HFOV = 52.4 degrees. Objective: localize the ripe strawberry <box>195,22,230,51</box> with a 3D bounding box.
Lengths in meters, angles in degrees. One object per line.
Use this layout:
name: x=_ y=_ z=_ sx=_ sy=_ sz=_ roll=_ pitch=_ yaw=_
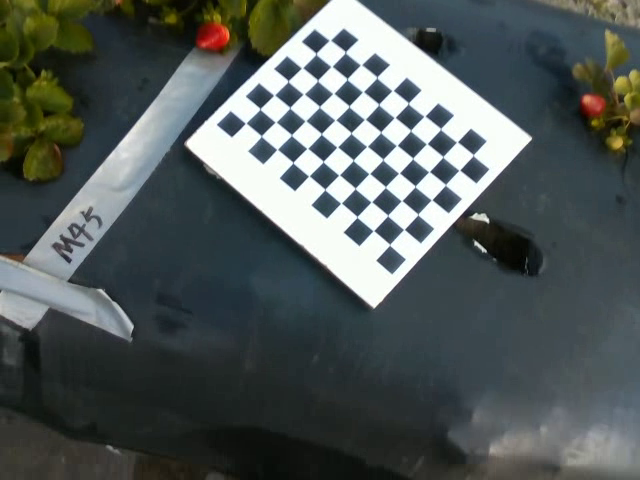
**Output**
ripe strawberry: x=-0.119 y=-0.222 z=0.696 sx=0.050 sy=0.055 sz=0.036 roll=37 pitch=-30 yaw=0
